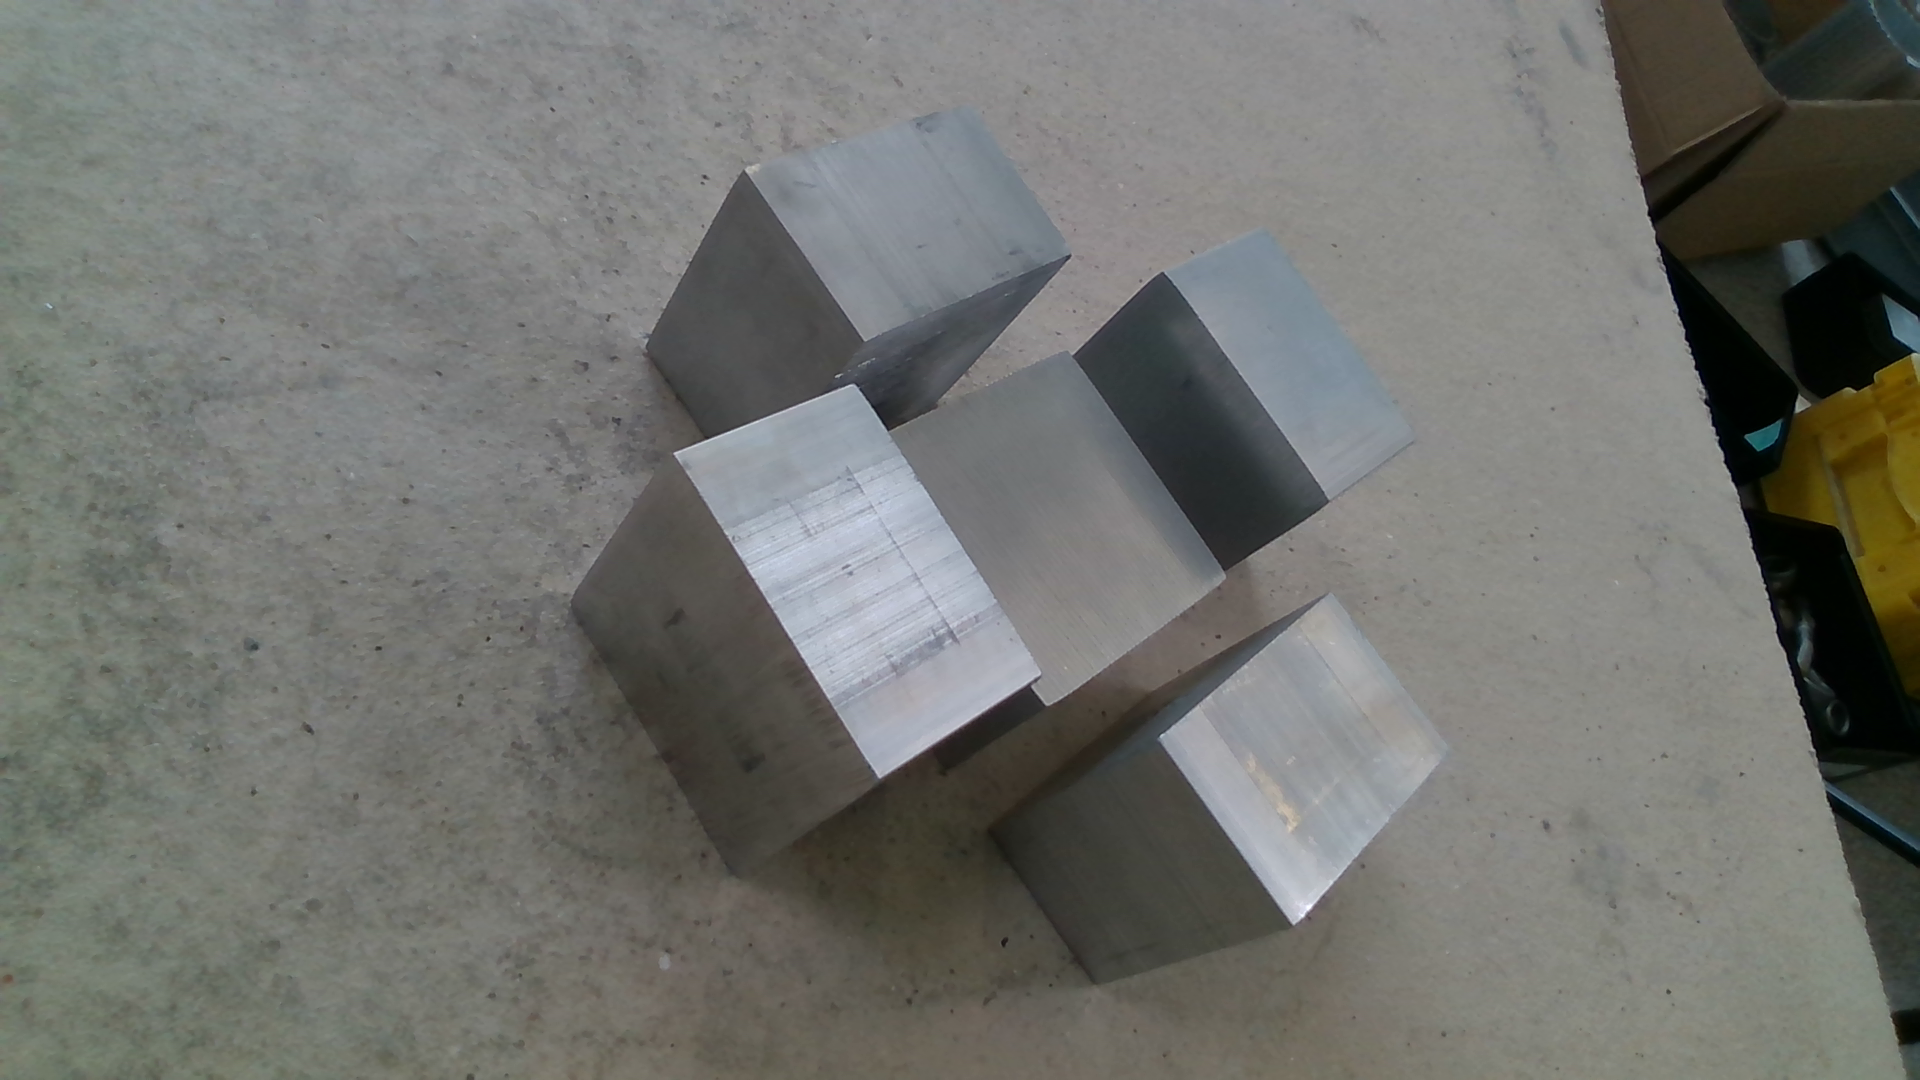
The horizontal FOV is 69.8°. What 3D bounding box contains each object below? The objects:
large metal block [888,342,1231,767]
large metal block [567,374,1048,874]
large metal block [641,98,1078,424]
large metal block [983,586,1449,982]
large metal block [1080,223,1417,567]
[{"bbox_3d":[0.014,0.003,0.381,0.080,0.050,0.080,-30,83,-39],"label":"large metal block"},{"bbox_3d":[-0.039,0.022,0.321,0.050,0.080,0.080,-28,82,-39],"label":"large metal block"},{"bbox_3d":[-0.029,-0.066,0.375,0.080,0.080,0.050,-30,83,-39],"label":"large metal block"},{"bbox_3d":[0.066,0.065,0.364,0.080,0.080,0.050,-31,84,-39],"label":"large metal block"},{"bbox_3d":[0.076,-0.036,0.425,0.050,0.080,0.080,-30,83,-39],"label":"large metal block"}]
